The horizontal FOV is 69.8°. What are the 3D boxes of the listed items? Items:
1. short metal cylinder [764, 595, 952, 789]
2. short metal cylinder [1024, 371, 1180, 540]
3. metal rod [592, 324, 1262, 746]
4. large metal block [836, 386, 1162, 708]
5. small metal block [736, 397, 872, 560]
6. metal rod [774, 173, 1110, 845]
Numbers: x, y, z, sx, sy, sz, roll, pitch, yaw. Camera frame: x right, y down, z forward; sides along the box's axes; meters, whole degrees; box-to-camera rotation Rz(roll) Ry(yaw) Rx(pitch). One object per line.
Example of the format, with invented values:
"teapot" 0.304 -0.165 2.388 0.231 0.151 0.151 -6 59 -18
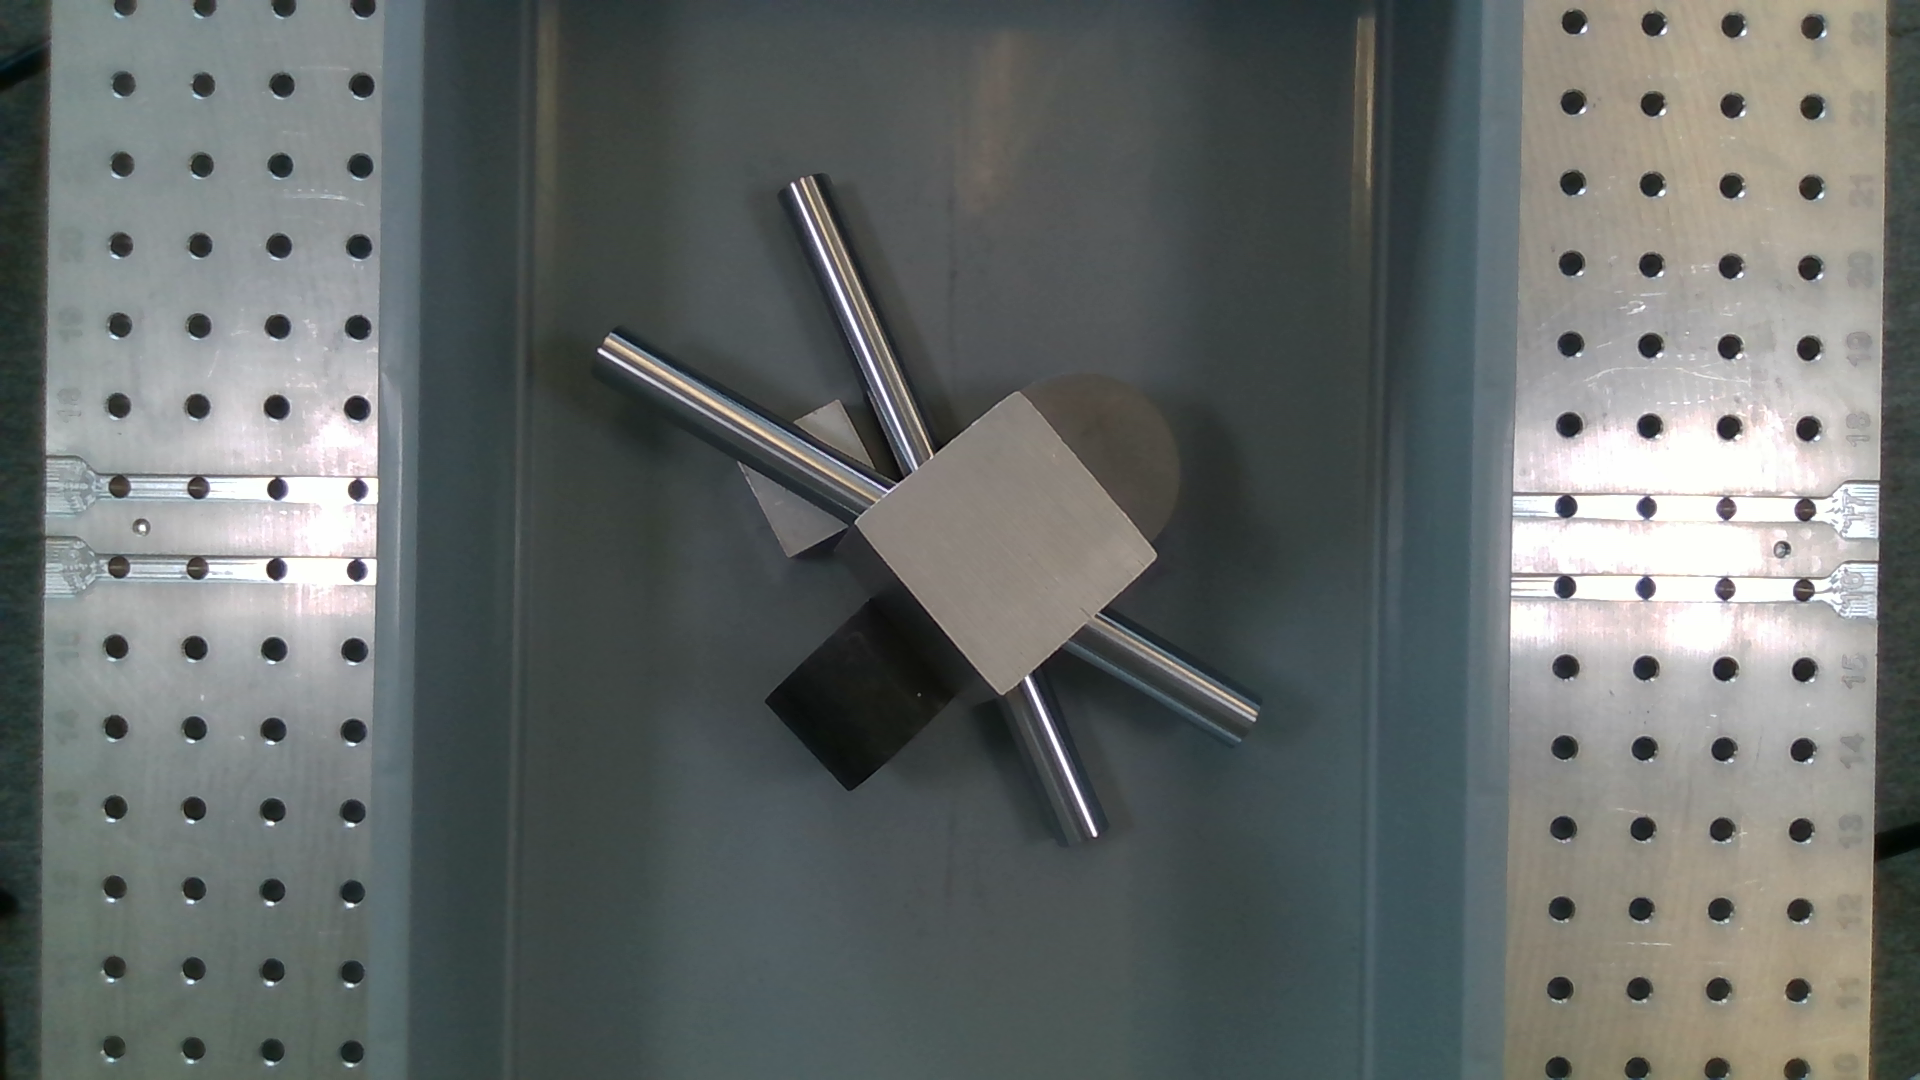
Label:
"short metal cylinder" -0.033 0.056 0.560 0.080 0.080 0.050 -43 89 0
"short metal cylinder" 0.048 -0.027 0.573 0.080 0.050 0.080 0 90 0
"metal rod" -0.013 -0.002 0.562 0.300 0.025 0.025 30 90 -1
"large metal block" 0.012 0.004 0.511 0.080 0.050 0.080 -40 90 -17
"small metal block" -0.062 -0.026 0.586 0.050 0.025 0.050 -28 90 0
"metal rod" -0.007 -0.013 0.586 0.025 0.025 0.300 -24 91 0
